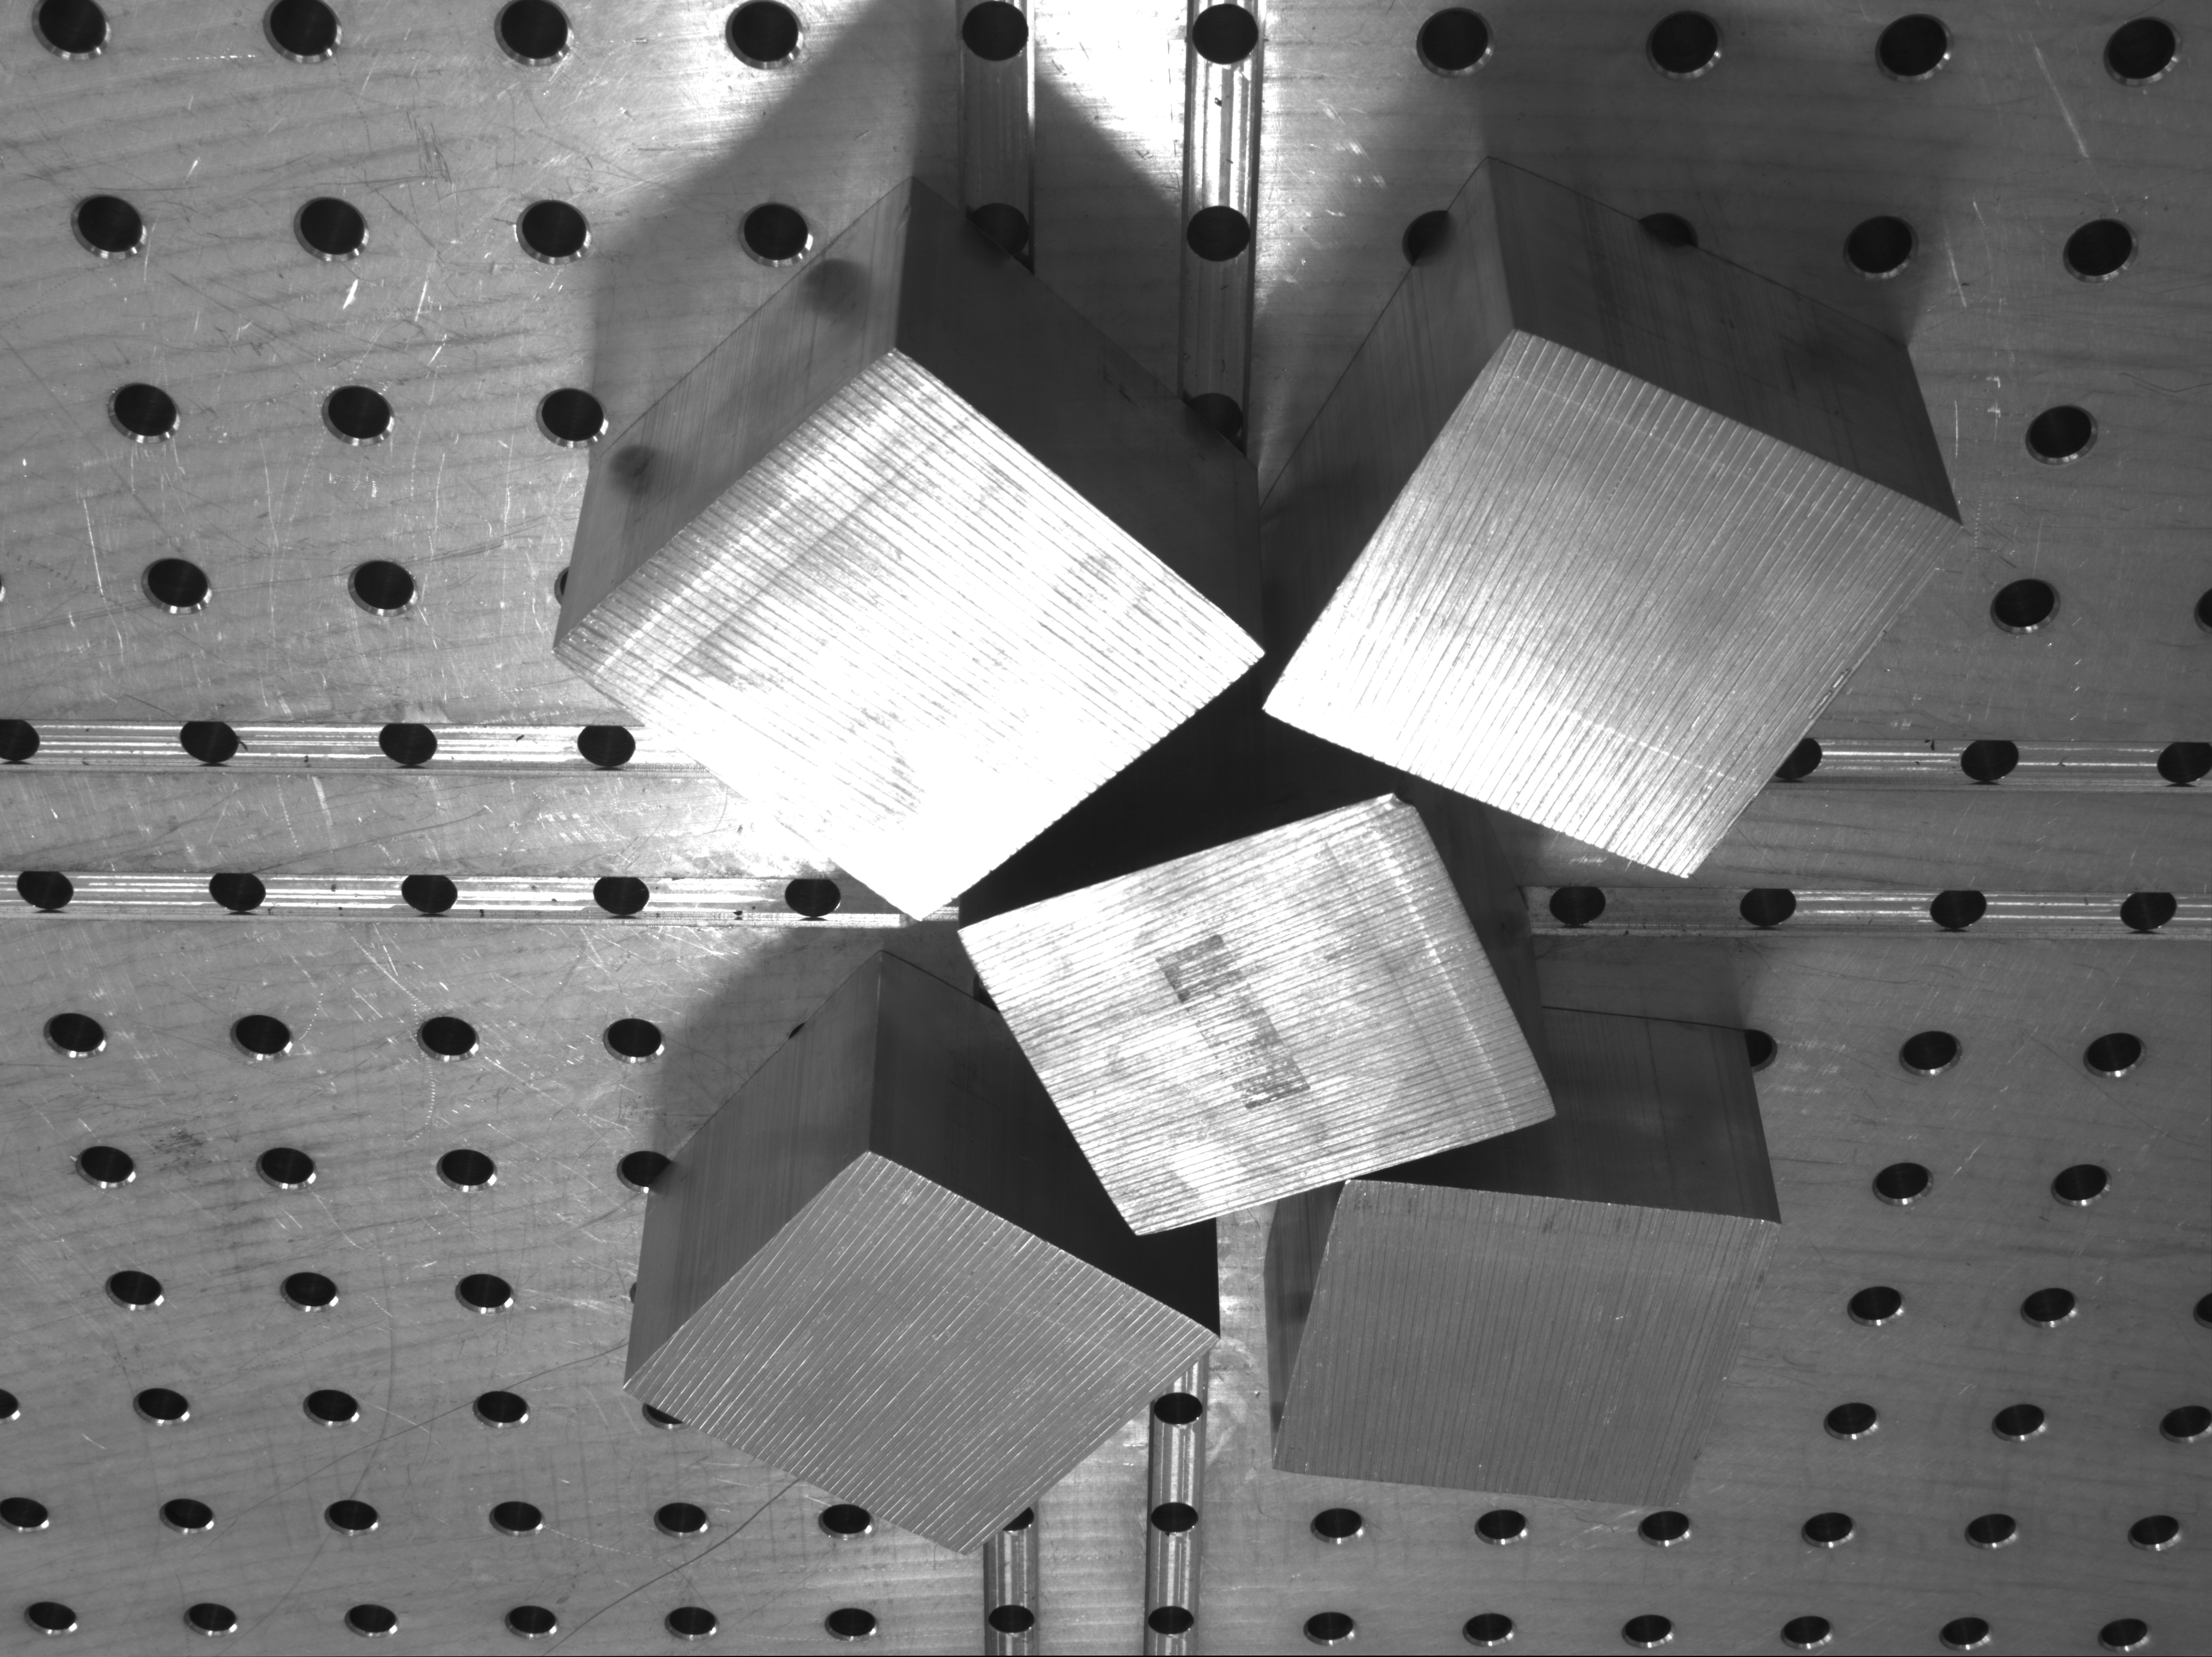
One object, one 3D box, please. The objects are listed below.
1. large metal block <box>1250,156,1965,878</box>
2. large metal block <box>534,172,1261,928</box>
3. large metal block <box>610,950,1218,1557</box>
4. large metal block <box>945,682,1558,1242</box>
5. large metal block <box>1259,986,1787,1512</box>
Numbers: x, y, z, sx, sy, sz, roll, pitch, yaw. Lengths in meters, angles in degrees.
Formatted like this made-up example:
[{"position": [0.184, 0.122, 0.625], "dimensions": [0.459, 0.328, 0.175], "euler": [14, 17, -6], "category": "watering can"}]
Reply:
[{"position": [0.076, -0.048, 0.585], "dimensions": [0.080, 0.050, 0.080], "euler": [18, 128, -18], "category": "large metal block"}, {"position": [-0.032, -0.043, 0.590], "dimensions": [0.080, 0.050, 0.080], "euler": [-37, 121, 27], "category": "large metal block"}, {"position": [-0.035, 0.081, 0.693], "dimensions": [0.080, 0.050, 0.080], "euler": [31, 123, -23], "category": "large metal block"}, {"position": [0.026, 0.018, 0.640], "dimensions": [0.080, 0.050, 0.080], "euler": [-18, 128, 14], "category": "large metal block"}, {"position": [0.075, 0.080, 0.694], "dimensions": [0.080, 0.050, 0.080], "euler": [6, 129, -6], "category": "large metal block"}]
